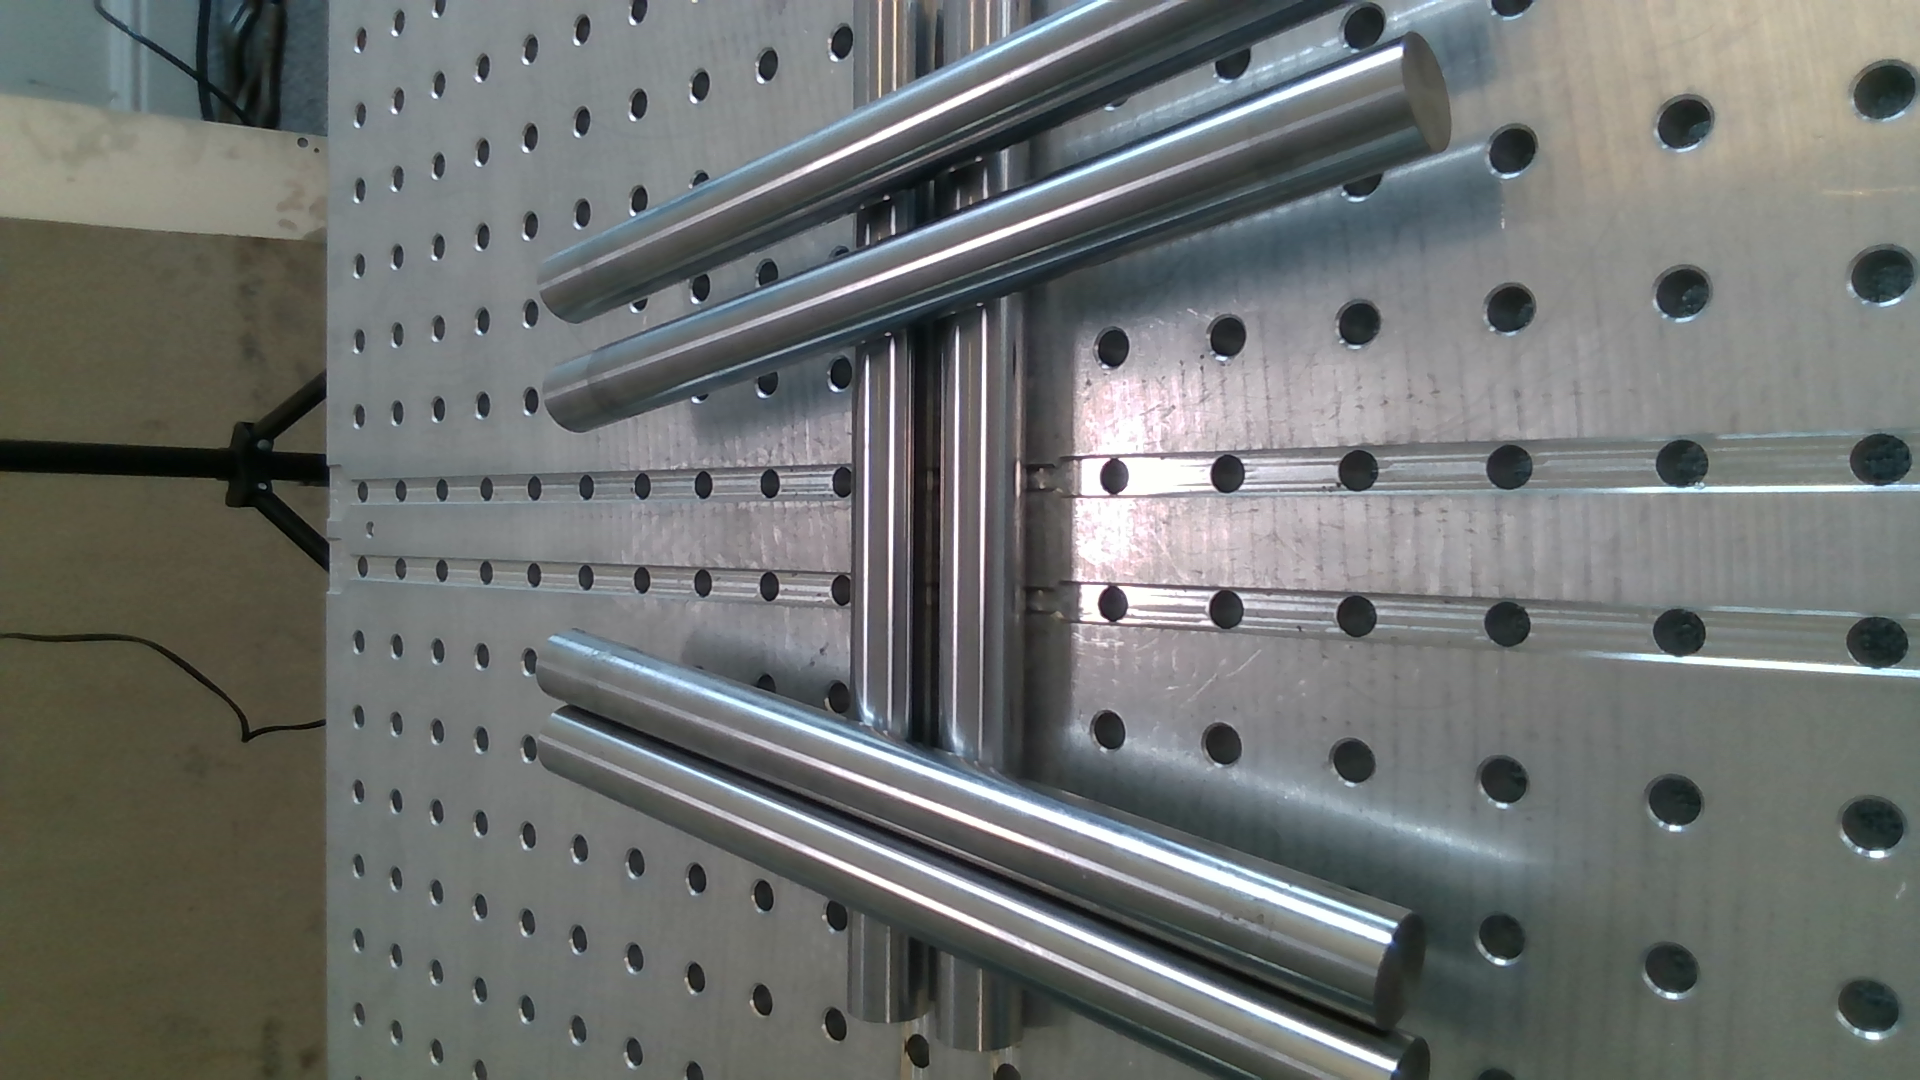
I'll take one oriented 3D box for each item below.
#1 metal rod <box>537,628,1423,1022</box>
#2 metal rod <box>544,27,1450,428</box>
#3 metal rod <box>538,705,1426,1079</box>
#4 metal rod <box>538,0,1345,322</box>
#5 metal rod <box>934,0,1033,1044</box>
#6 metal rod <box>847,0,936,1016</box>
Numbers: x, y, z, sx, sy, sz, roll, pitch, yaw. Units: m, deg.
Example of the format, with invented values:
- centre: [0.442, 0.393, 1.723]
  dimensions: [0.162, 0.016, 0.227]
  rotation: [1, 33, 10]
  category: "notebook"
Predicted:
- centre: [-0.022, 0.065, 0.381]
  dimensions: [0.300, 0.025, 0.025]
  rotation: [12, 98, 40]
  category: "metal rod"
- centre: [-0.019, -0.071, 0.377]
  dimensions: [0.300, 0.025, 0.025]
  rotation: [-10, 84, 40]
  category: "metal rod"
- centre: [-0.022, 0.091, 0.381]
  dimensions: [0.300, 0.025, 0.025]
  rotation: [12, 98, 40]
  category: "metal rod"
- centre: [-0.021, -0.109, 0.378]
  dimensions: [0.300, 0.025, 0.025]
  rotation: [-11, 83, 40]
  category: "metal rod"
- centre: [0.007, -0.011, 0.389]
  dimensions: [0.025, 0.025, 0.300]
  rotation: [1, 91, 40]
  category: "metal rod"
- centre: [-0.020, -0.011, 0.411]
  dimensions: [0.025, 0.025, 0.300]
  rotation: [1, 91, 40]
  category: "metal rod"
